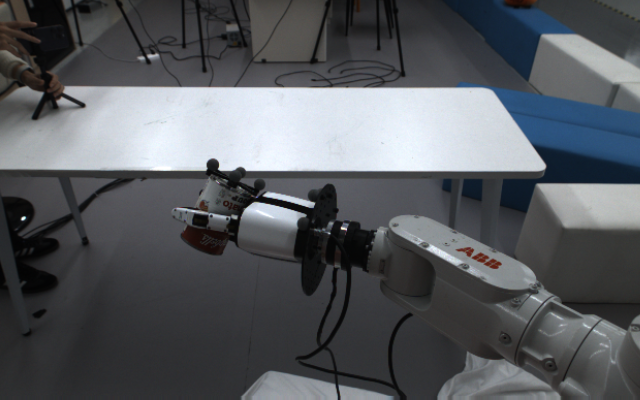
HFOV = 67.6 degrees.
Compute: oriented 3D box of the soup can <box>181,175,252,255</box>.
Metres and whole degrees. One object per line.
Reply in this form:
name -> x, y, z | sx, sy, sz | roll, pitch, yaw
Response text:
soup can -> -0.151, 0.022, 0.707 | 0.067, 0.101, 0.067 | 27, 6, -3
